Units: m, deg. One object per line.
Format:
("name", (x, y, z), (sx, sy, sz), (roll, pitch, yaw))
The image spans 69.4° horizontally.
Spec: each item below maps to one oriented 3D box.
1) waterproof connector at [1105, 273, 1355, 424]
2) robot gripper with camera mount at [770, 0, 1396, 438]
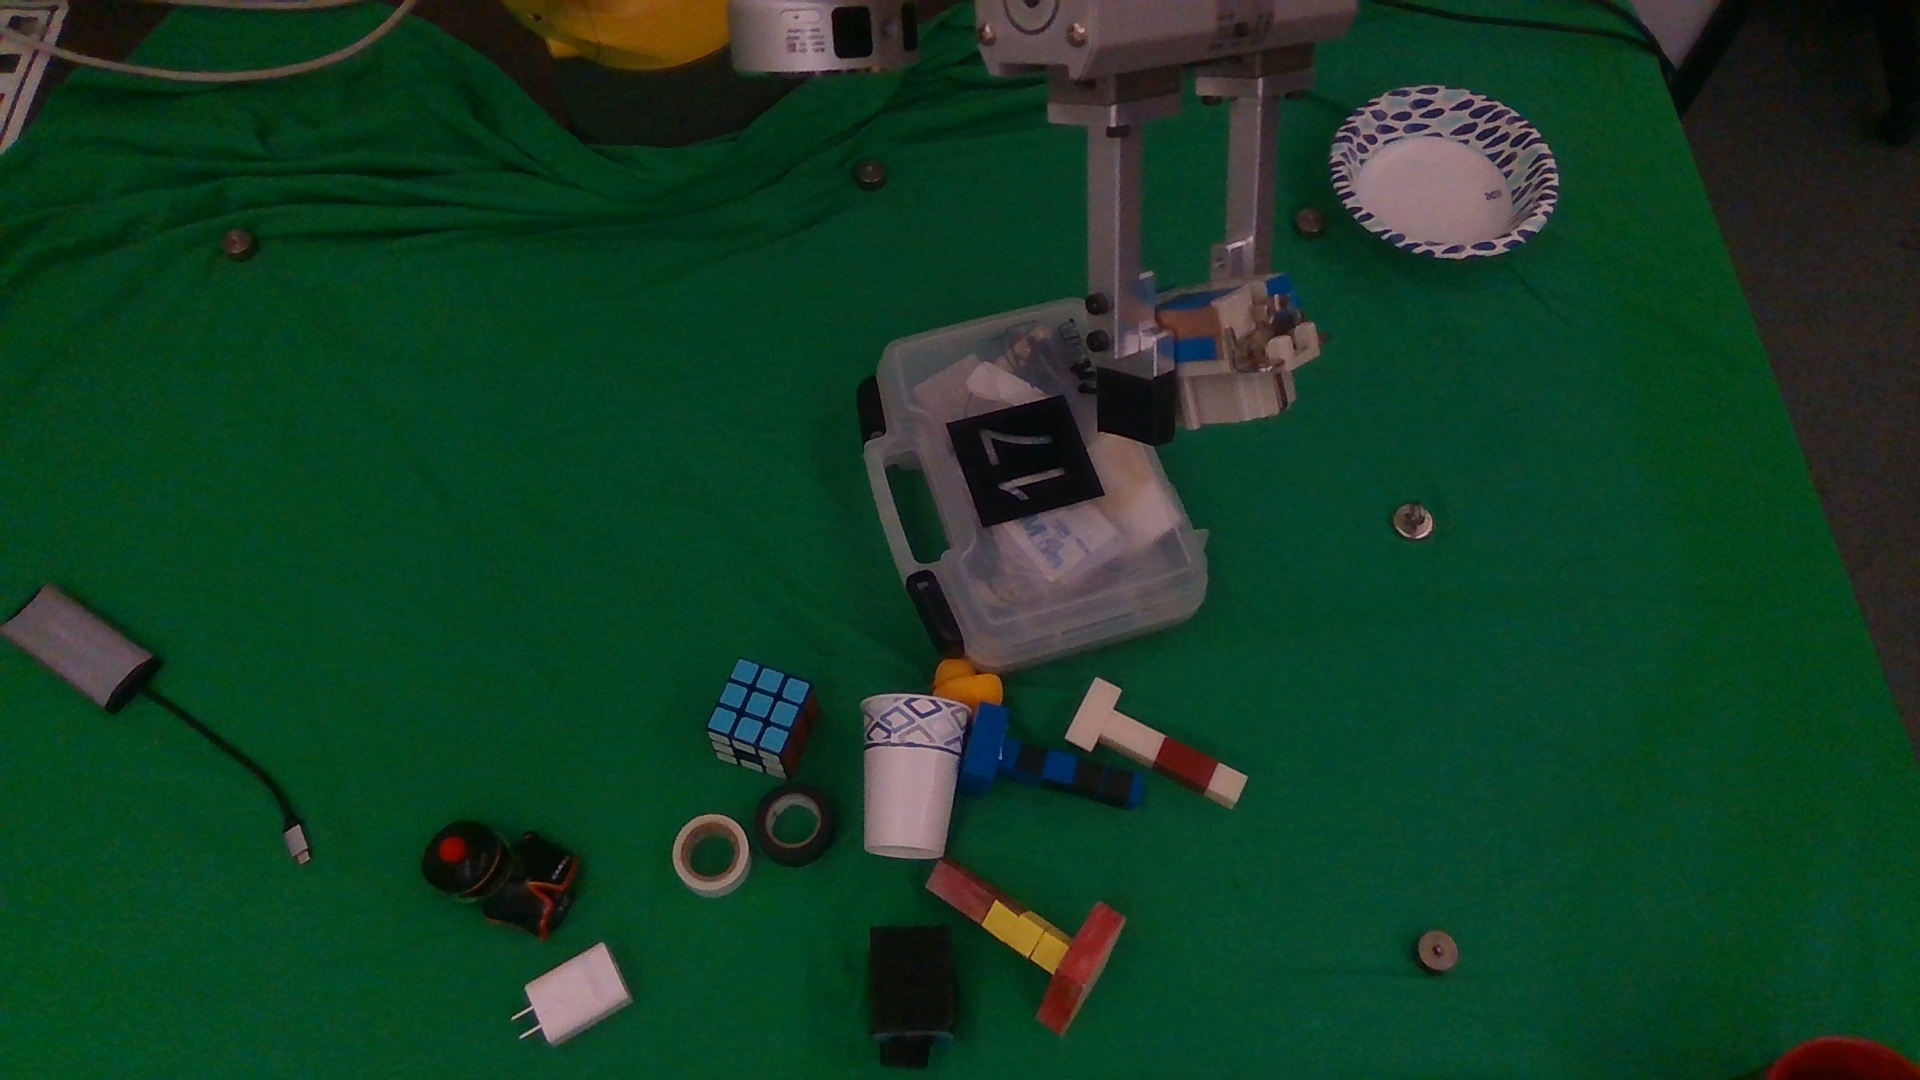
("waterproof connector", (0.074, -0.052, 0.389), (0.065, 0.037, 0.034), (3, 21, 45))
("robot gripper with camera mount", (0.012, -0.123, 0.418), (0.194, 0.158, 0.118), (15, 26, 42))
